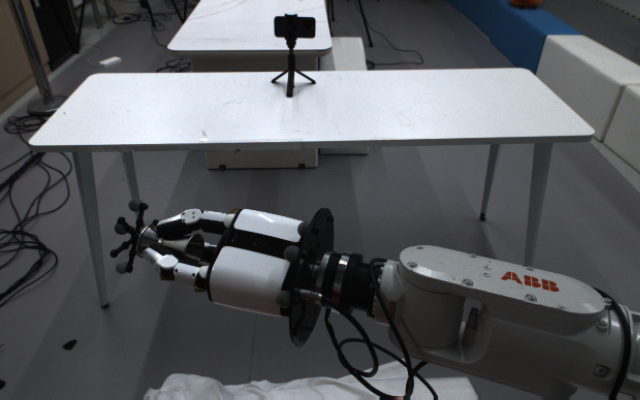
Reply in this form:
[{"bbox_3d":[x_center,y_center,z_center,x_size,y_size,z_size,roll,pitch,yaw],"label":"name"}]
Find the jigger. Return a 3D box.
[{"bbox_3d":[-0.178,0.055,0.599,0.071,0.043,0.043,11,36,15],"label":"jigger"}]
